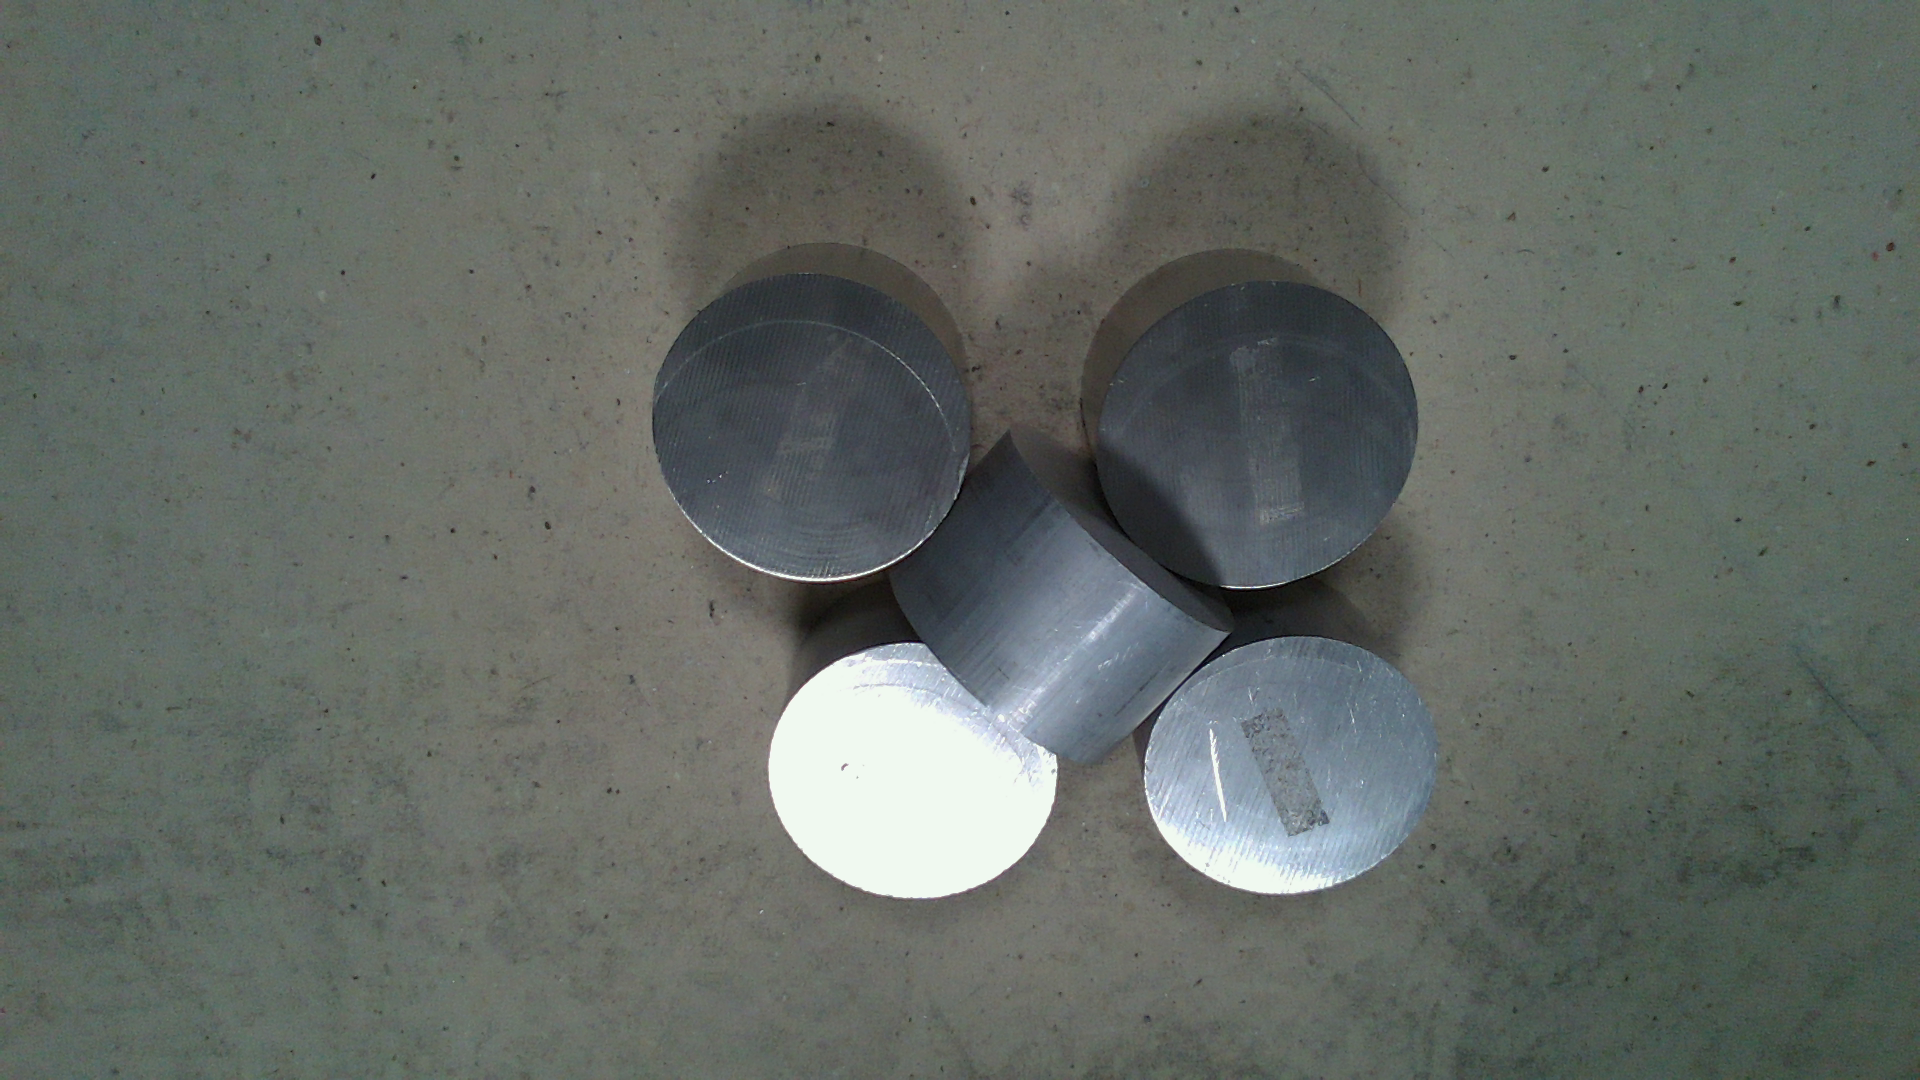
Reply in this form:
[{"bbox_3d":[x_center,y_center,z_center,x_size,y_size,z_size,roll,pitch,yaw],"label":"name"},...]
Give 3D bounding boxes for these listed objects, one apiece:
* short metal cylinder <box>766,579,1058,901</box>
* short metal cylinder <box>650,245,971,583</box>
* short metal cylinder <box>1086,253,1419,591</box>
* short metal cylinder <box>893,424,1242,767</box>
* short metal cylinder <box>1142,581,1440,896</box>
[{"bbox_3d":[-0.013,0.056,0.400,0.080,0.050,0.080,0,110,0],"label":"short metal cylinder"},{"bbox_3d":[-0.037,-0.035,0.367,0.080,0.050,0.080,0,110,0],"label":"short metal cylinder"},{"bbox_3d":[0.075,-0.033,0.367,0.080,0.050,0.080,0,110,0],"label":"short metal cylinder"},{"bbox_3d":[0.029,0.014,0.370,0.080,0.080,0.050,38,106,-13],"label":"short metal cylinder"},{"bbox_3d":[0.091,0.055,0.400,0.080,0.050,0.080,0,110,0],"label":"short metal cylinder"}]
